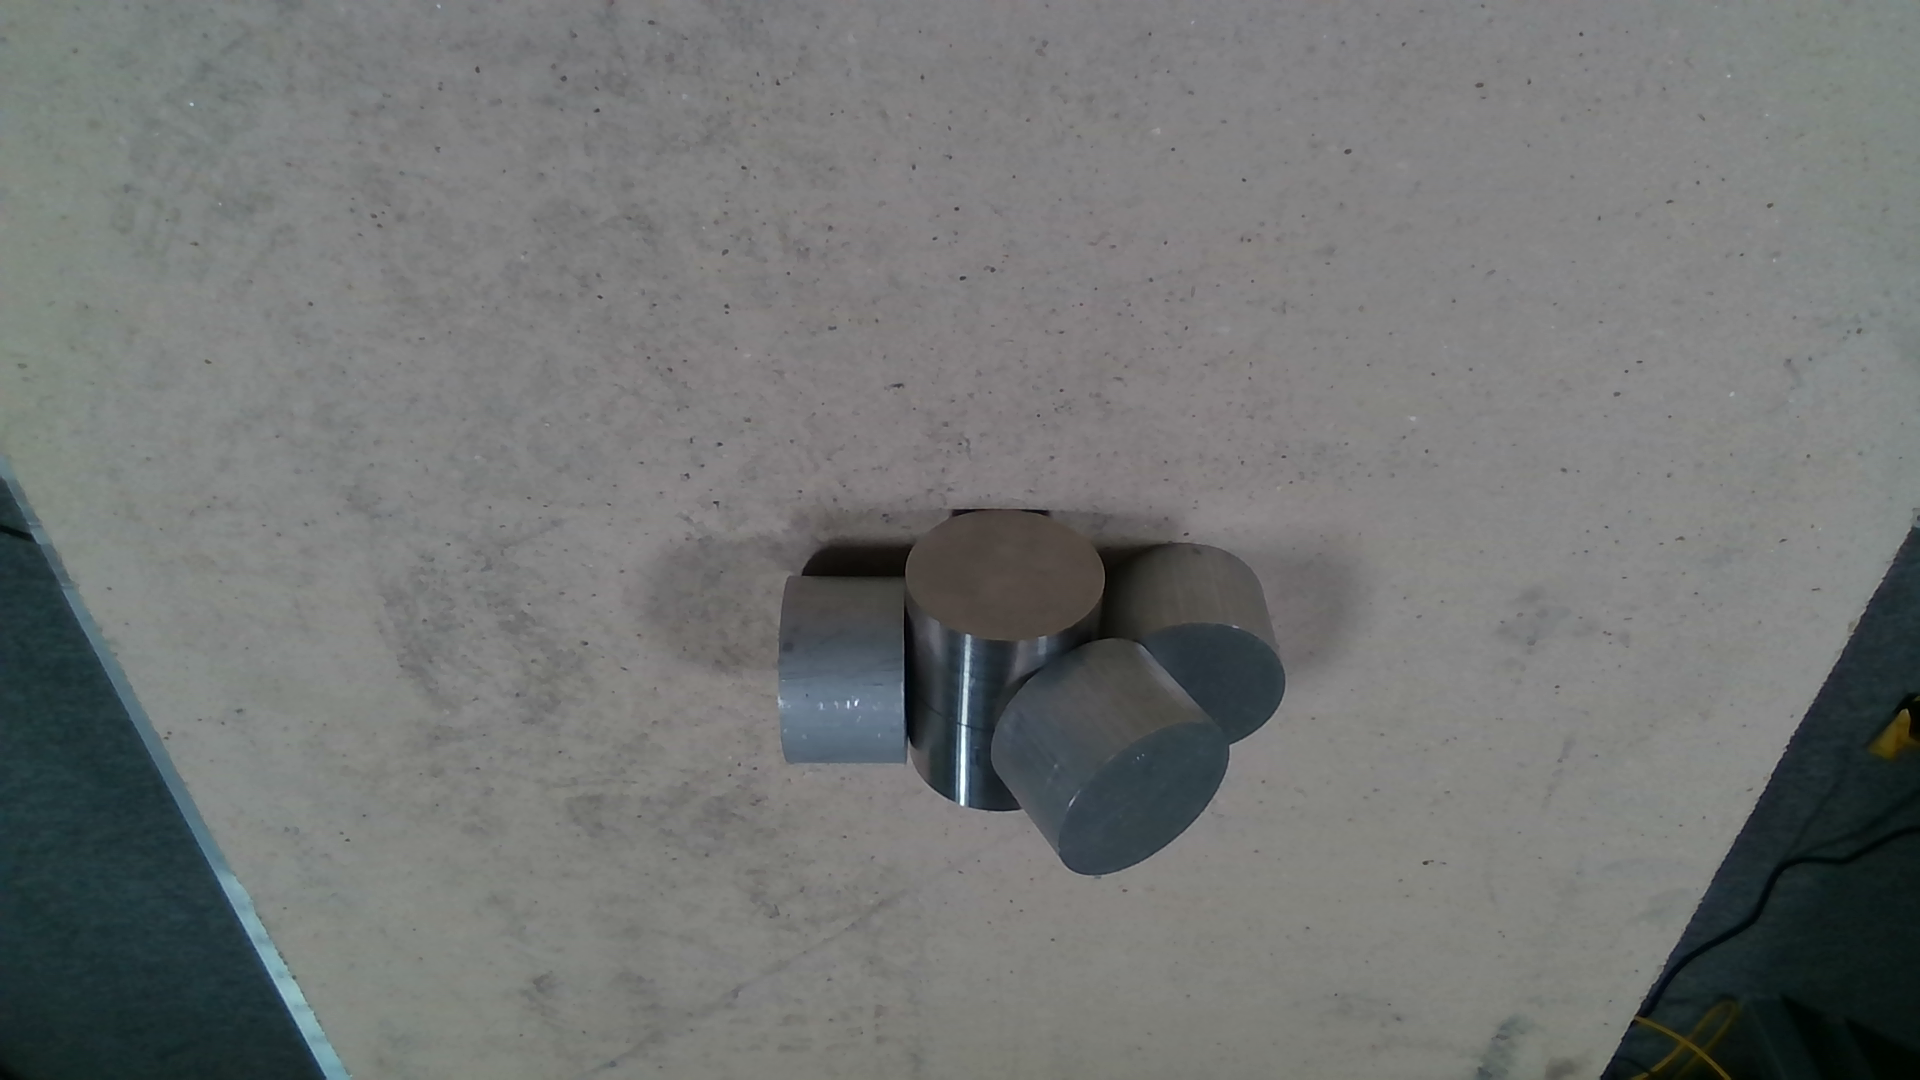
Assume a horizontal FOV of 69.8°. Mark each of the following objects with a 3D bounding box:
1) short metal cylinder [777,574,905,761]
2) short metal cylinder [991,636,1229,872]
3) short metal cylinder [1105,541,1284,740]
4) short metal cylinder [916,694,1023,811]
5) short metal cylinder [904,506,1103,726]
[{"bbox_3d":[-0.048,0.055,0.590,0.050,0.080,0.080,0,130,0],"label":"short metal cylinder"},{"bbox_3d":[0.060,0.085,0.549,0.080,0.050,0.080,-19,134,-21],"label":"short metal cylinder"},{"bbox_3d":[0.097,0.047,0.604,0.080,0.050,0.080,0,130,0],"label":"short metal cylinder"},{"bbox_3d":[0.017,0.071,0.603,0.080,0.080,0.050,0,129,0],"label":"short metal cylinder"},{"bbox_3d":[0.017,0.031,0.570,0.080,0.080,0.050,0,130,0],"label":"short metal cylinder"}]
